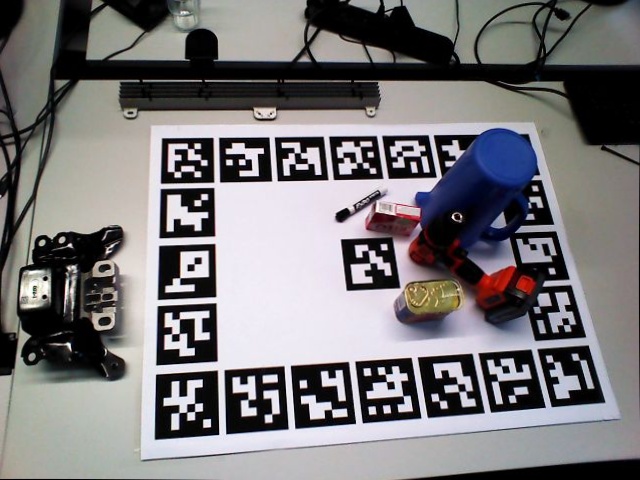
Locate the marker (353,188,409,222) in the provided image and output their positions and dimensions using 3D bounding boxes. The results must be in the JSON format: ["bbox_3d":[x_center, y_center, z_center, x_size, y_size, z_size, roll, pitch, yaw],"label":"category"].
[{"bbox_3d":[0.116,-0.067,0.991,0.121,0.020,0.019,-28,75,-15],"label":"marker"}]

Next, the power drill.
[{"bbox_3d":[0.285,0.044,0.884,0.187,0.185,0.057,33,71,0],"label":"power drill"}]

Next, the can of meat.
[{"bbox_3d":[0.217,0.122,0.896,0.102,0.084,0.057,-2,67,-9],"label":"can of meat"}]

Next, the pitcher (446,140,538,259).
[{"bbox_3d":[0.329,-0.062,0.906,0.189,0.243,0.132,27,71,11],"label":"pitcher"}]

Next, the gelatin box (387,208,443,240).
[{"bbox_3d":[0.176,-0.026,0.957,0.089,0.073,0.030,9,72,-5],"label":"gelatin box"}]
